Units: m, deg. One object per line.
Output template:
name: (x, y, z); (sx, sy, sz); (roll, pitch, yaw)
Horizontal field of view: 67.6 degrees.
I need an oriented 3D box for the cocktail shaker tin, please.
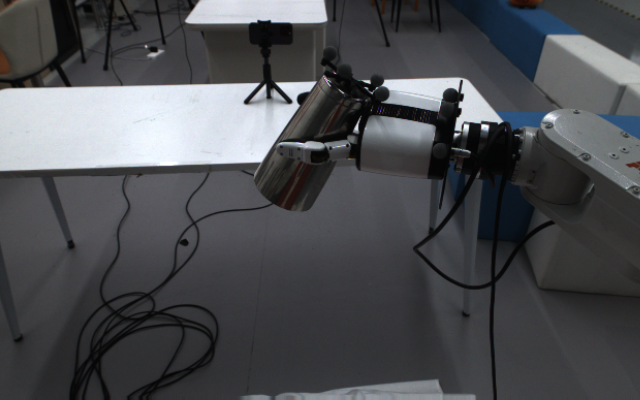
cocktail shaker tin: (-0.008, -0.081, 0.629); (0.093, 0.170, 0.093); (26, 32, -17)
